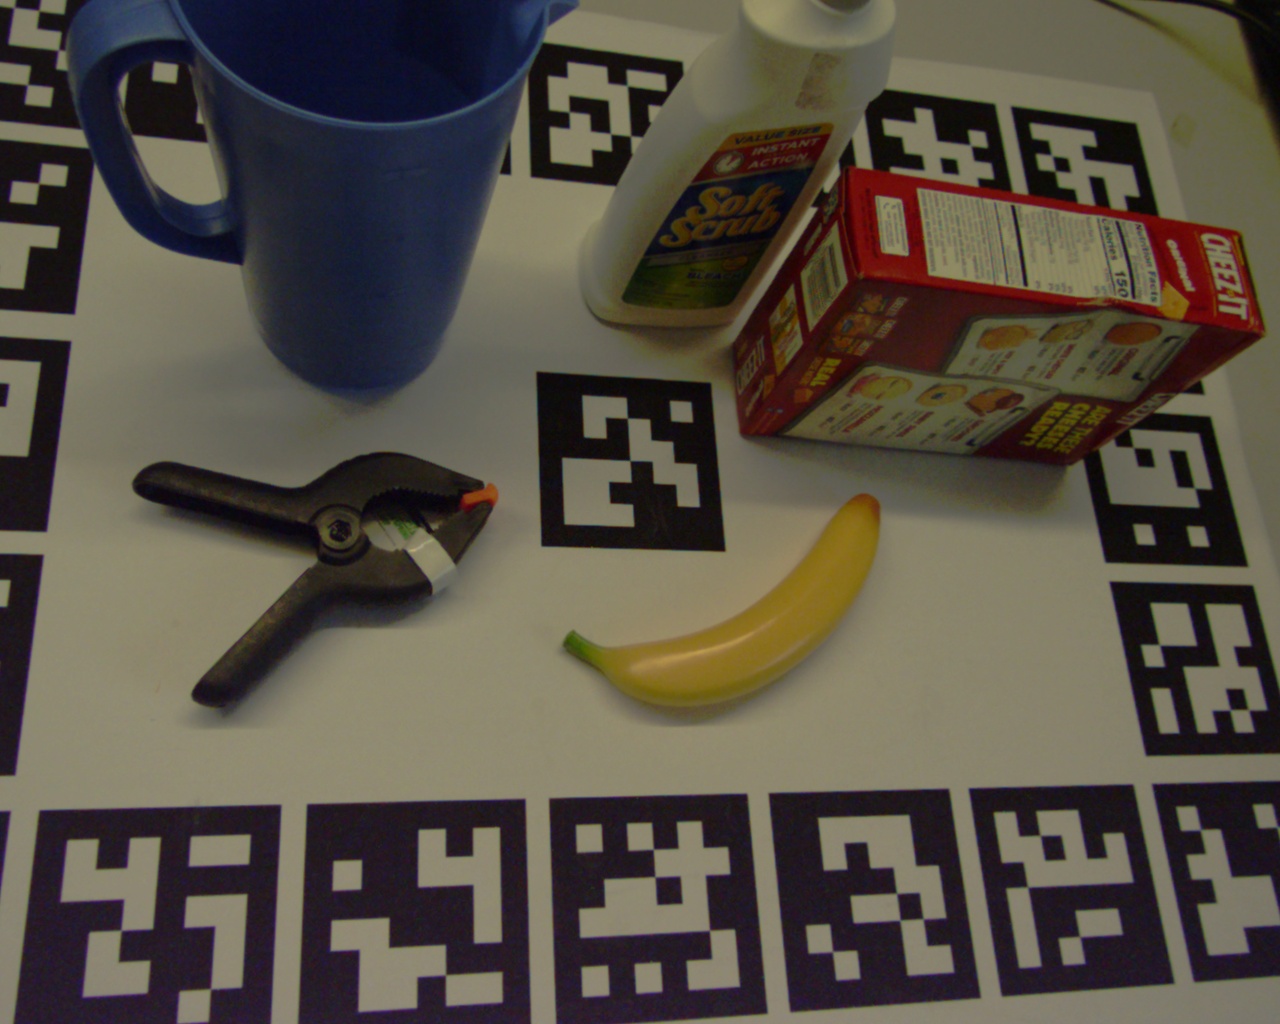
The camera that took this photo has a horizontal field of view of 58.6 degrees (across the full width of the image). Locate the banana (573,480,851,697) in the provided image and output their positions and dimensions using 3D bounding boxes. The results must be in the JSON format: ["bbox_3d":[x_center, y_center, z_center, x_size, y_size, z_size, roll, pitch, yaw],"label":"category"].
[{"bbox_3d":[0.059,0.048,0.643,0.196,0.039,0.074,-33,79,-24],"label":"banana"}]

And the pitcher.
[{"bbox_3d":[-0.141,-0.152,0.527,0.187,0.243,0.134,-17,73,-23],"label":"pitcher"}]

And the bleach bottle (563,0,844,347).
[{"bbox_3d":[0.032,-0.178,0.603,0.102,0.251,0.068,2,68,-15],"label":"bleach bottle"}]

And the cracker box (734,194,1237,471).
[{"bbox_3d":[0.179,-0.094,0.637,0.212,0.164,0.072,3,65,-12],"label":"cracker box"}]

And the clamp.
[{"bbox_3d":[-0.153,0.016,0.593,0.163,0.037,0.122,-15,71,-21],"label":"clamp"}]
